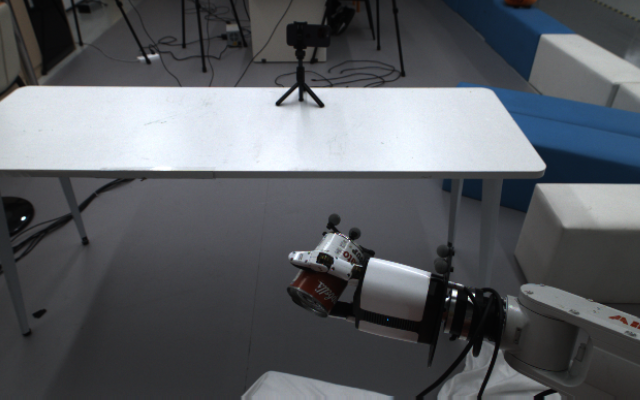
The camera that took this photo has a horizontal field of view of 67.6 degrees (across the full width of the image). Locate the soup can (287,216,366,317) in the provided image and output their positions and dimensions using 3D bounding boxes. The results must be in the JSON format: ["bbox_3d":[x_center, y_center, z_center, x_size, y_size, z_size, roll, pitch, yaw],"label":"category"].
[{"bbox_3d":[0.010,0.102,0.673,0.067,0.067,0.101,22,60,27],"label":"soup can"}]
